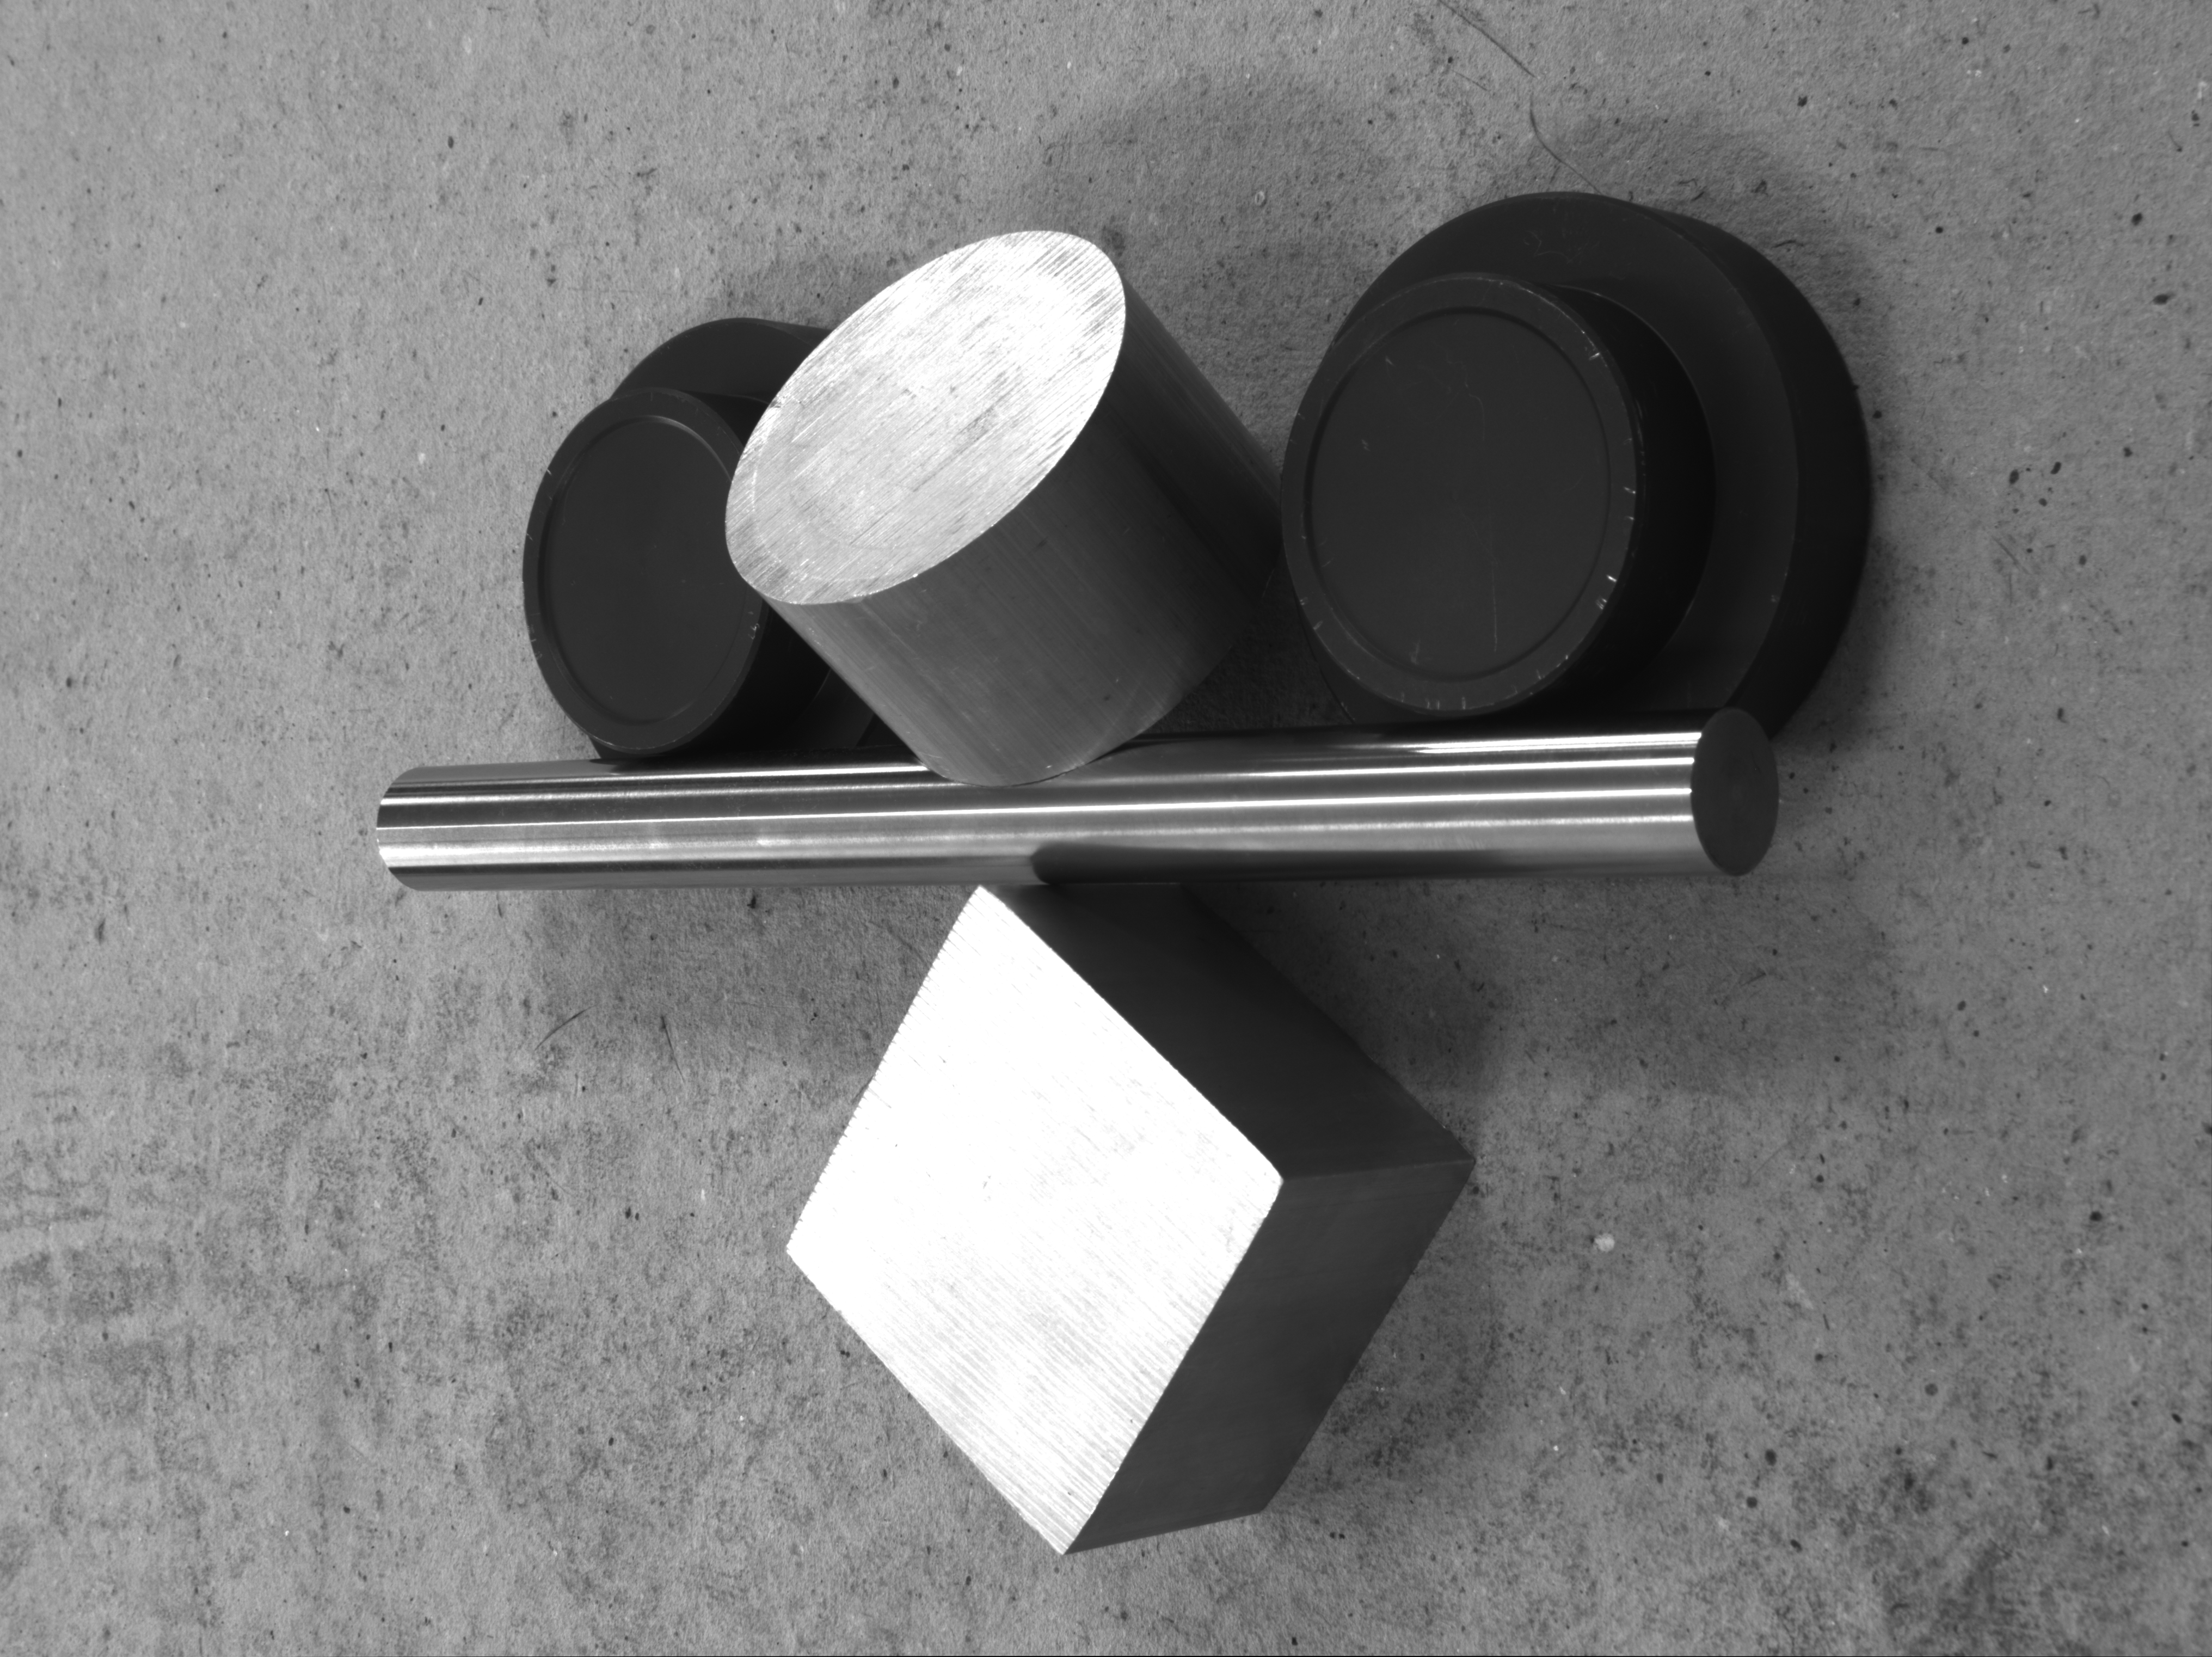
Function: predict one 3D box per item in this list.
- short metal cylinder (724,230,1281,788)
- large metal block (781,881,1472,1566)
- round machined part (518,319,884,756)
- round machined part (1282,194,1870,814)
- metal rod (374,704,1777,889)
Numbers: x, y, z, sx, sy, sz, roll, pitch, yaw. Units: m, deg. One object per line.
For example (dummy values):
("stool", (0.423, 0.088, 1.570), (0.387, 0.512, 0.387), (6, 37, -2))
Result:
("short metal cylinder", (-0.017, -0.054, 0.620), (0.080, 0.050, 0.080), (-23, 42, 23))
("large metal block", (0.002, 0.065, 0.625), (0.080, 0.050, 0.080), (43, 116, 32))
("round machined part", (-0.074, -0.048, 0.696), (0.098, 0.042, 0.098), (0, 90, 40))
("round machined part", (0.067, -0.051, 0.579), (0.098, 0.042, 0.098), (0, 90, 40))
("metal rod", (-0.022, -0.003, 0.636), (0.299, 0.025, 0.025), (-1, 89, 40))
